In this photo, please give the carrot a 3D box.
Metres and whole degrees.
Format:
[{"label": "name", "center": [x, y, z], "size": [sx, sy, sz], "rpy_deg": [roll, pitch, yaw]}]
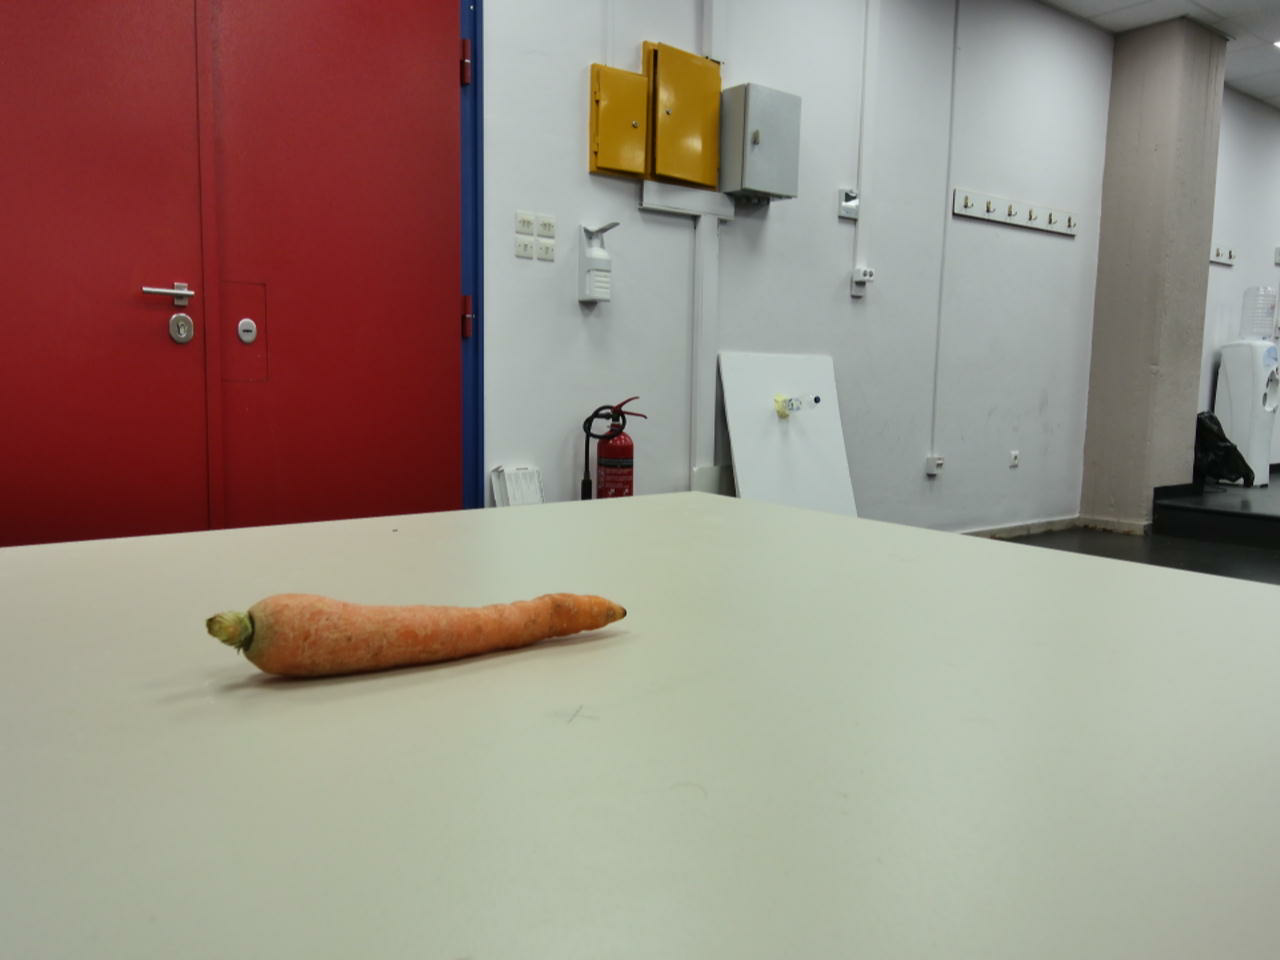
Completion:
[{"label": "carrot", "center": [-0.079, 0.056, 0.399], "size": [0.173, 0.032, 0.030], "rpy_deg": [-2, 4, -29]}]
